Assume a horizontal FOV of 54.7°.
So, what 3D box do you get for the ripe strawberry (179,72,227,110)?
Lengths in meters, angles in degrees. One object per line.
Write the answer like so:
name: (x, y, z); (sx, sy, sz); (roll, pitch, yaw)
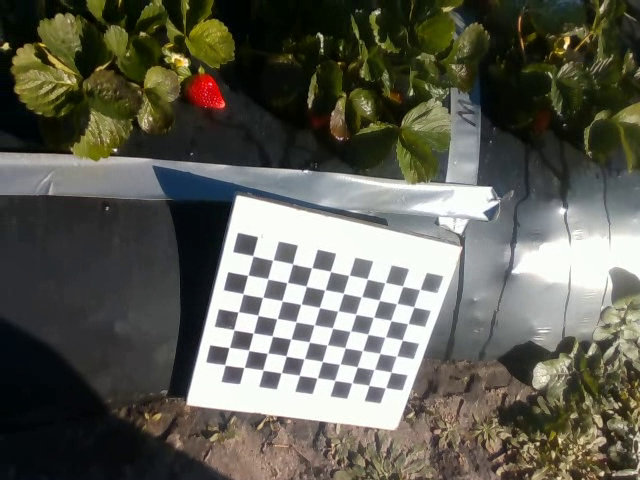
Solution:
ripe strawberry: (-0.132, -0.170, 0.719); (0.059, 0.045, 0.042); (42, 5, -4)
